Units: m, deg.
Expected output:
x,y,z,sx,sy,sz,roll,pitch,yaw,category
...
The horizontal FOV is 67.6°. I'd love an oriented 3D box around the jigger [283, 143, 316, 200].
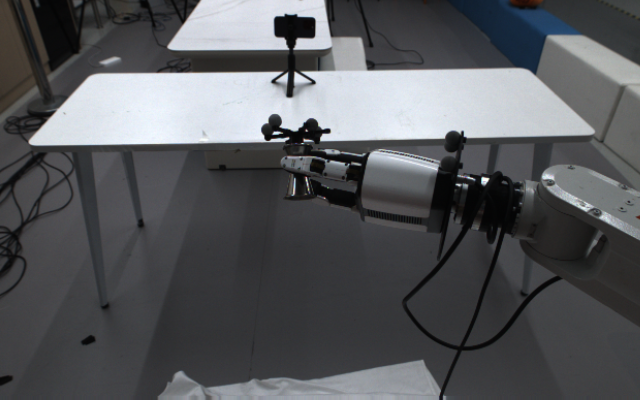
x,y,z,sx,sy,sz,roll,pitch,yaw,category
-0.028,-0.037,0.627,0.043,0.071,0.043,-2,-7,0,jigger
